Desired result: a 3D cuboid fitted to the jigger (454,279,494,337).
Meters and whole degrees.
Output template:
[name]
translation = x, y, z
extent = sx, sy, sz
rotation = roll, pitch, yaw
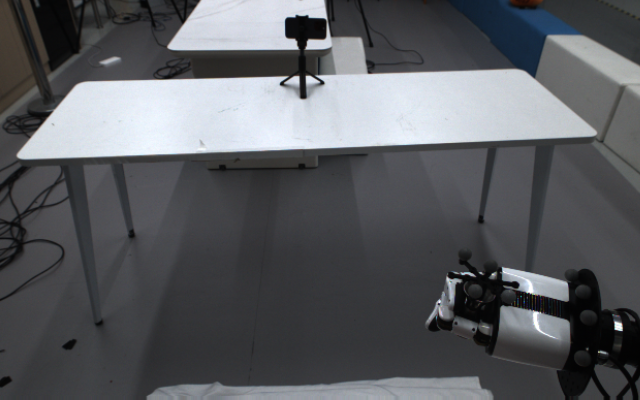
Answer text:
[jigger]
translation = 0.200, 0.143, 0.637
extent = 0.043, 0.071, 0.043
rotation = 7, 32, -4
